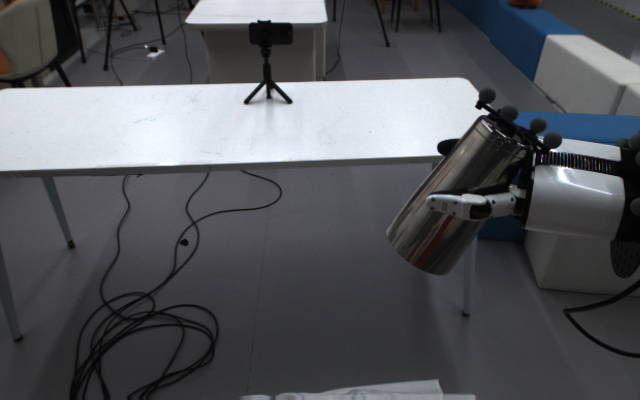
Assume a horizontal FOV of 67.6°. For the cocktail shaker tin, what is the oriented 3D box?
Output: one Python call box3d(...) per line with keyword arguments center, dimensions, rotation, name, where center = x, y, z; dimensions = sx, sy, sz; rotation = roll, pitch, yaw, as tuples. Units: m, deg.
box3d(center=(0.160, -0.010, 0.553), dimensions=(0.093, 0.170, 0.093), rotation=(25, 28, -15), name="cocktail shaker tin")
